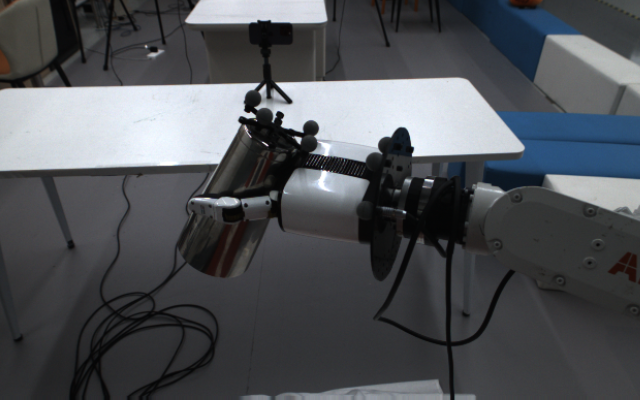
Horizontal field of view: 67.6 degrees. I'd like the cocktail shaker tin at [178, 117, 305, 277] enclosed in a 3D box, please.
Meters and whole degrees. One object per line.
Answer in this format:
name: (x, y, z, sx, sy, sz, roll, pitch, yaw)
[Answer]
cocktail shaker tin: (-0.088, -0.007, 0.552, 0.093, 0.170, 0.093, 25, 29, -15)
